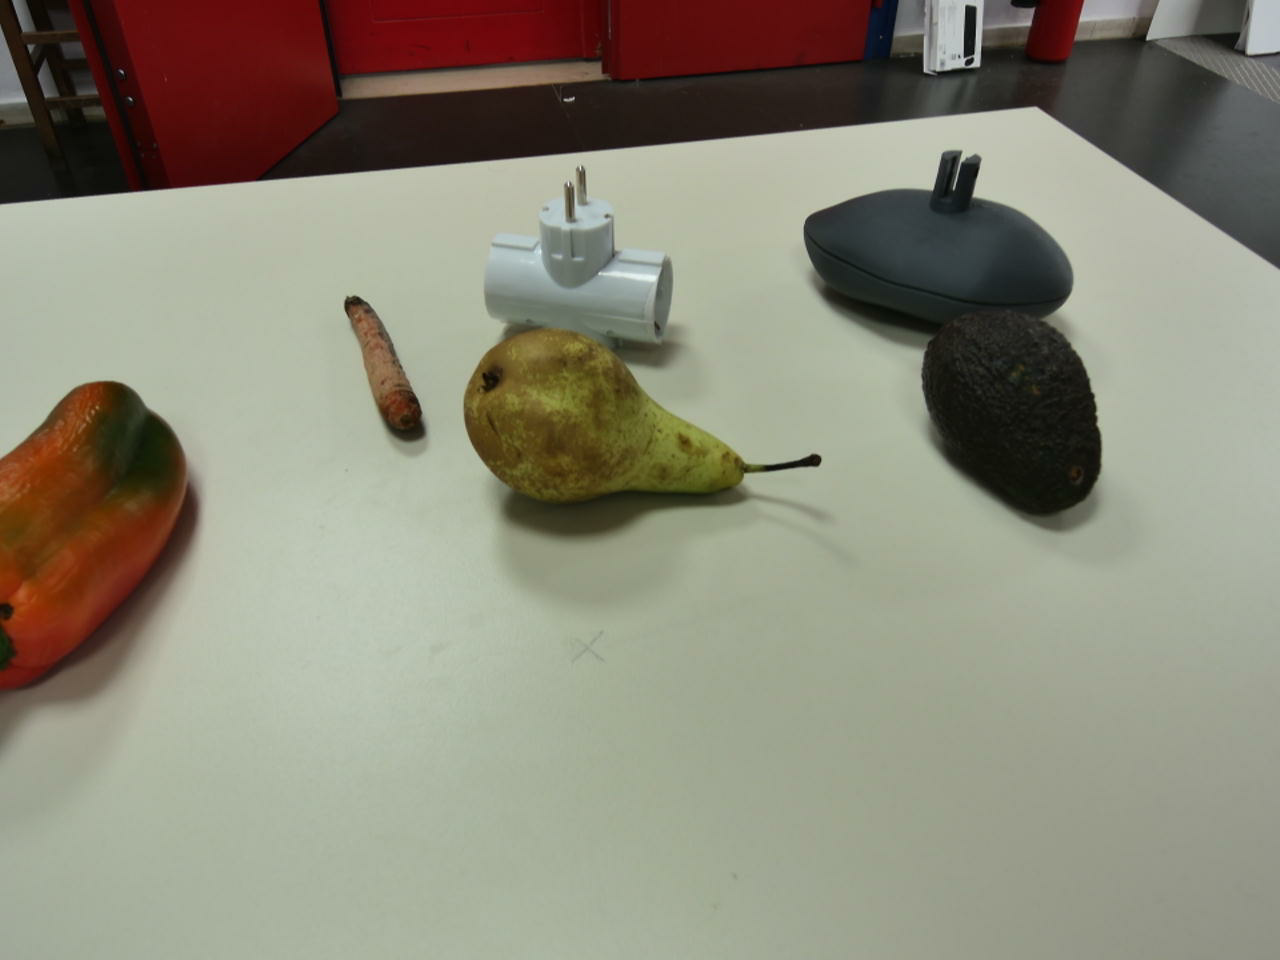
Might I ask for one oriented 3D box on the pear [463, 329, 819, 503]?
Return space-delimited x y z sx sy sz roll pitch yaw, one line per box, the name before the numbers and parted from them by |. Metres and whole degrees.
pear | -0.001 -0.029 0.422 0.144 0.075 0.071 -4 39 -5
